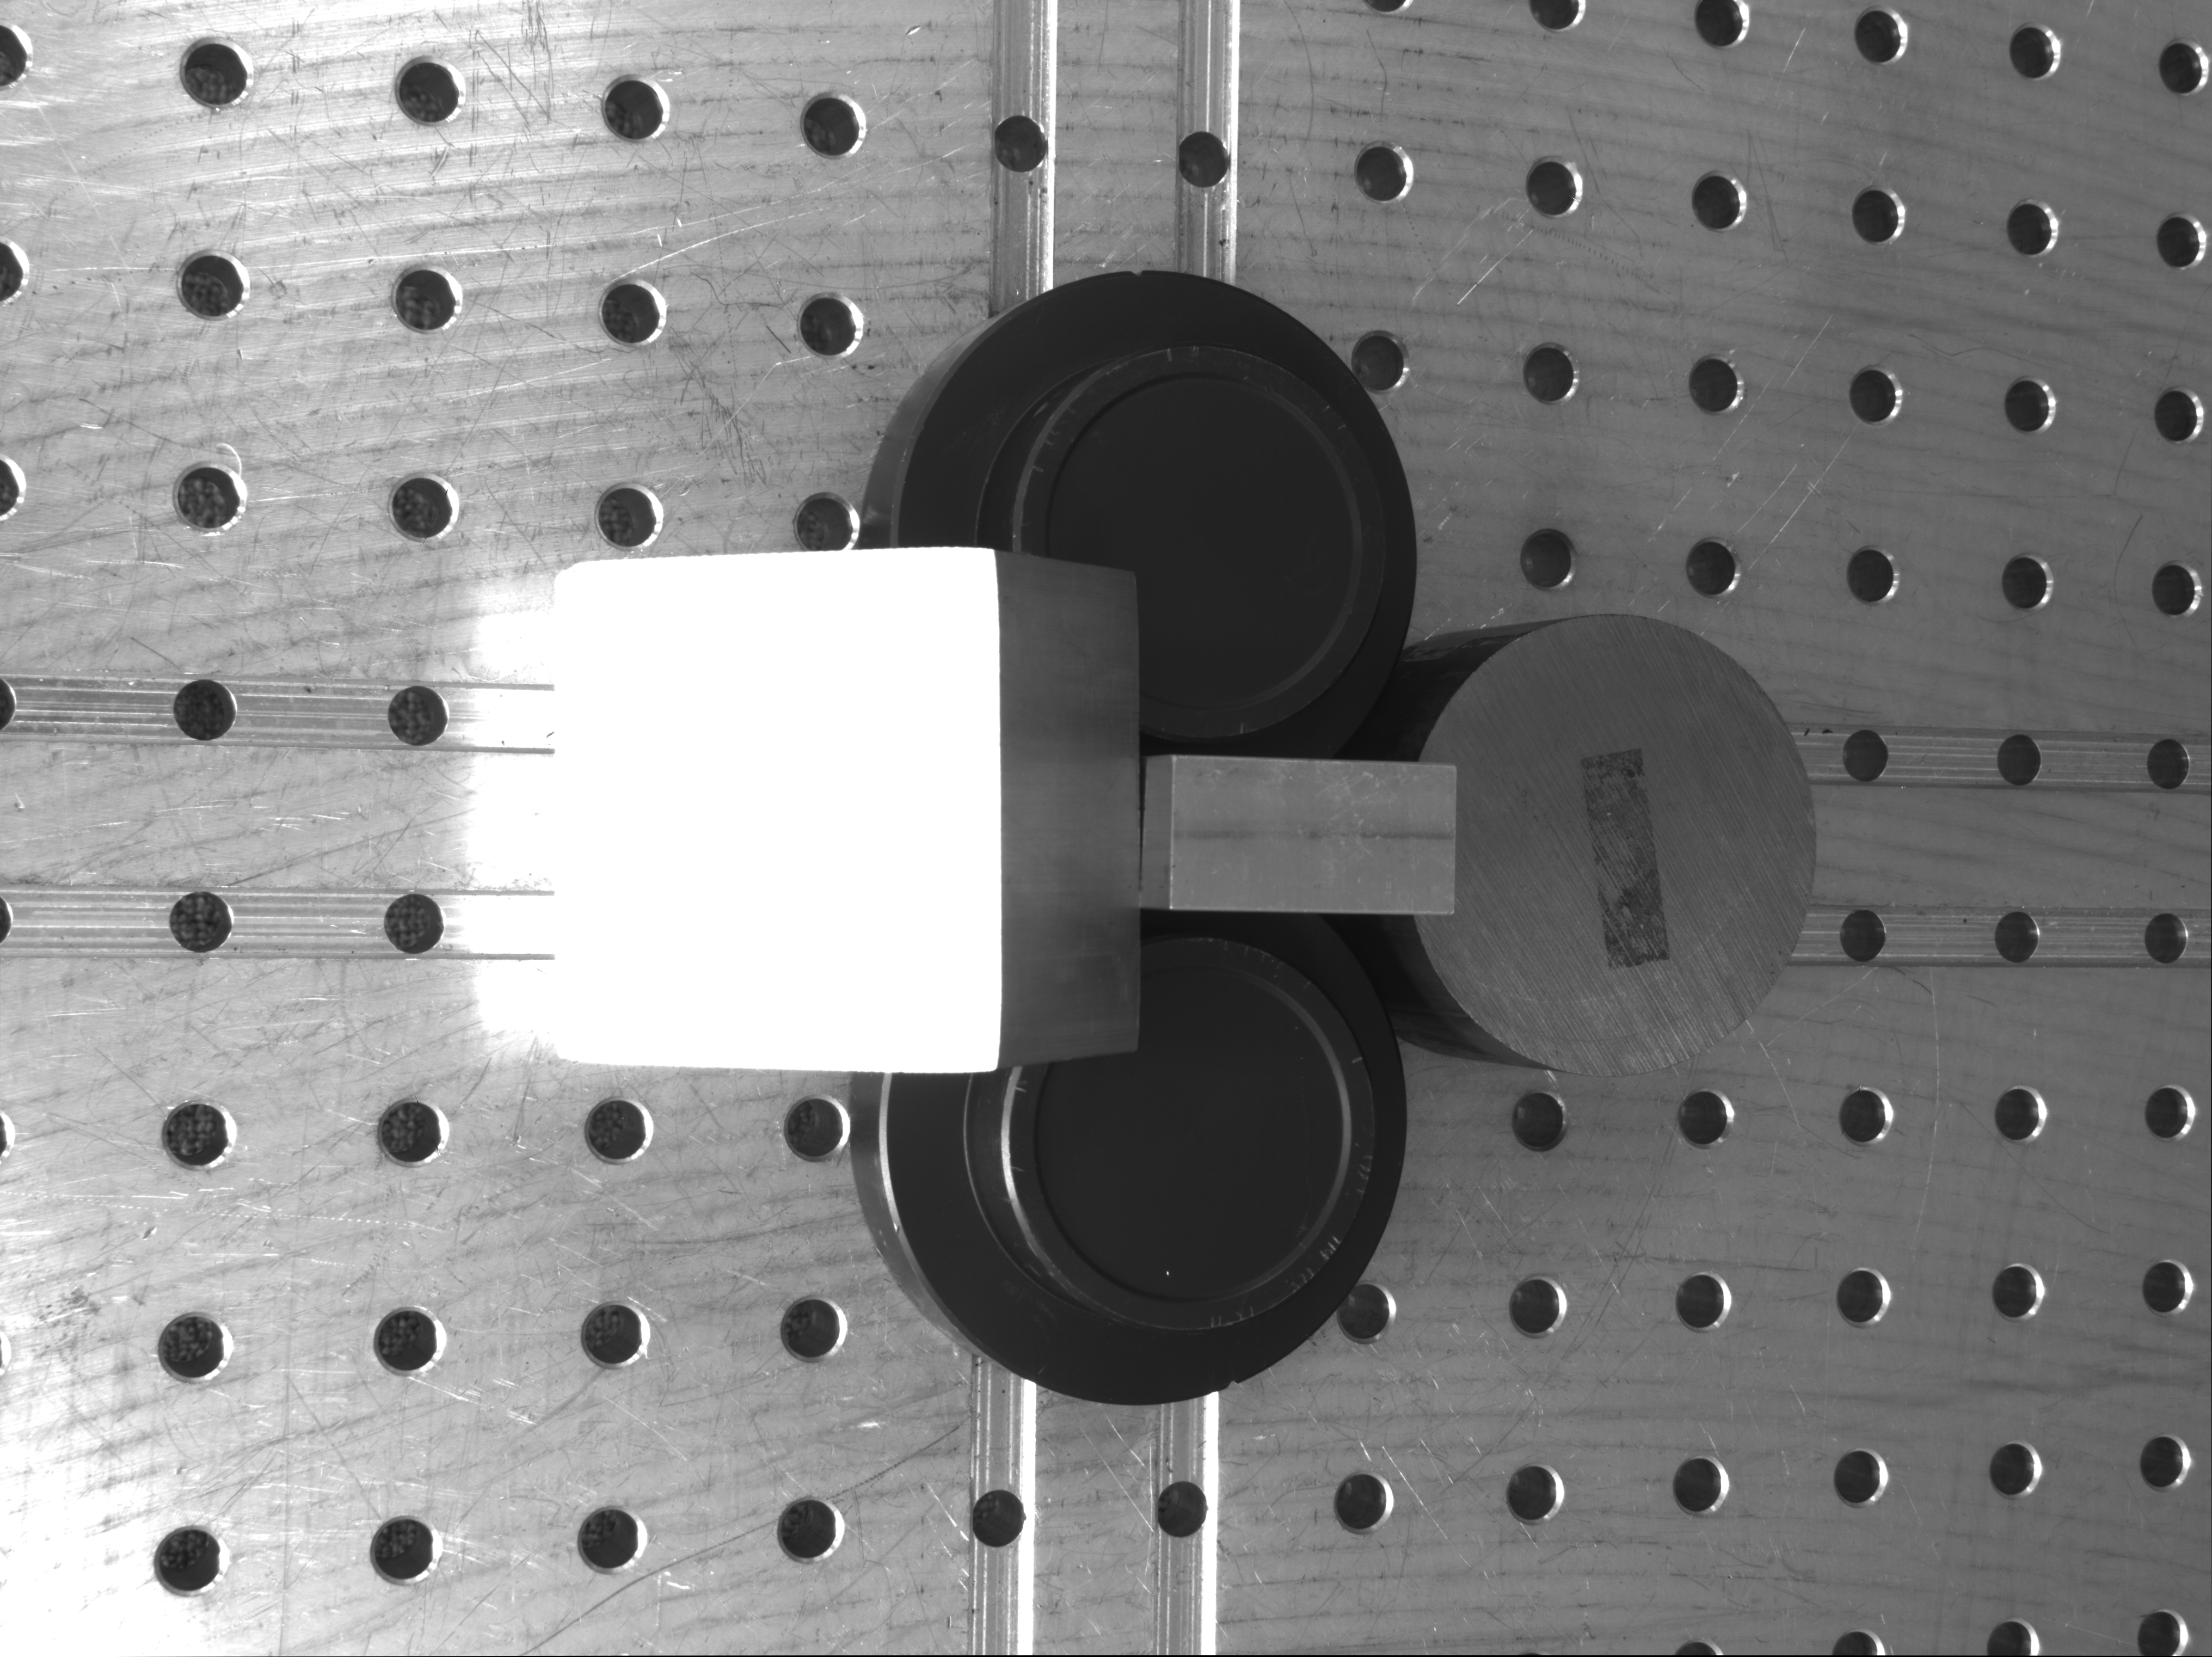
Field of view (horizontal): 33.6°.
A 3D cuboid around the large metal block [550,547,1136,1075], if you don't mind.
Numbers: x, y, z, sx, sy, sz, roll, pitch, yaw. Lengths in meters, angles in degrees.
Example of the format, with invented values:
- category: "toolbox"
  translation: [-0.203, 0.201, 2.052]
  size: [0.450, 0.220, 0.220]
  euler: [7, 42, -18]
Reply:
- category: "large metal block"
  translation: [-0.042, -0.003, 0.595]
  size: [0.050, 0.080, 0.080]
  euler: [-1, 90, -64]

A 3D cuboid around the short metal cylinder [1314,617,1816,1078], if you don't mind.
- category: "short metal cylinder"
  translation: [0.080, 0.003, 0.660]
  size: [0.080, 0.050, 0.080]
  euler: [0, 90, -20]

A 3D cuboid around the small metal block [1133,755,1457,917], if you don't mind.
- category: "small metal block"
  translation: [0.026, 0.001, 0.618]
  size: [0.050, 0.050, 0.025]
  euler: [2, 89, -20]

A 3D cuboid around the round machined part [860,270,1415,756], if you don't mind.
- category: "round machined part"
  translation: [0.010, -0.048, 0.640]
  size: [0.098, 0.042, 0.098]
  euler: [0, 90, -20]

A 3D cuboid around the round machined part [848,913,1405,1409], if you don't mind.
- category: "round machined part"
  translation: [0.008, 0.052, 0.639]
  size: [0.098, 0.042, 0.098]
  euler: [0, 90, -20]
